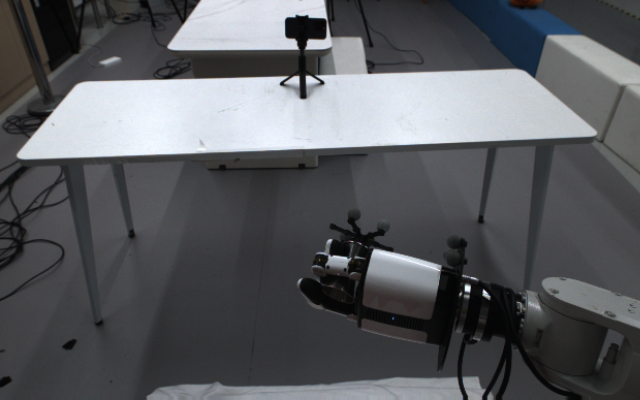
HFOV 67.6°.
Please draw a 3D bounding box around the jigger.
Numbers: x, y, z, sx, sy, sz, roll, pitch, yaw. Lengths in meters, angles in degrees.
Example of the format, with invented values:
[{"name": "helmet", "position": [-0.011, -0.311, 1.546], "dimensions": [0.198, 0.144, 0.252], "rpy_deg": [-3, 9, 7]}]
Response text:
[{"name": "jigger", "position": [0.036, 0.087, 0.609], "dimensions": [0.043, 0.043, 0.071], "rpy_deg": [15, 58, 18]}]
